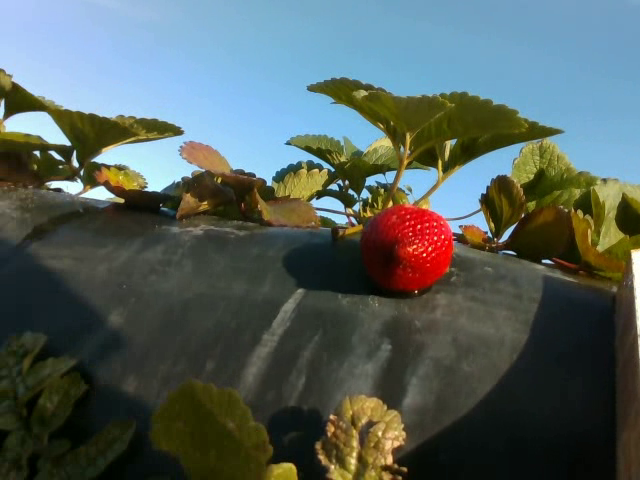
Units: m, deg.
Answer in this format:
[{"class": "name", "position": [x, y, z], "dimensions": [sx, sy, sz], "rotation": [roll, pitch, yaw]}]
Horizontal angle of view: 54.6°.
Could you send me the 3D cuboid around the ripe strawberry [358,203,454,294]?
[{"class": "ripe strawberry", "position": [0.031, 0.002, 0.221], "dimensions": [0.040, 0.037, 0.044], "rotation": [6, 12, 1]}]
